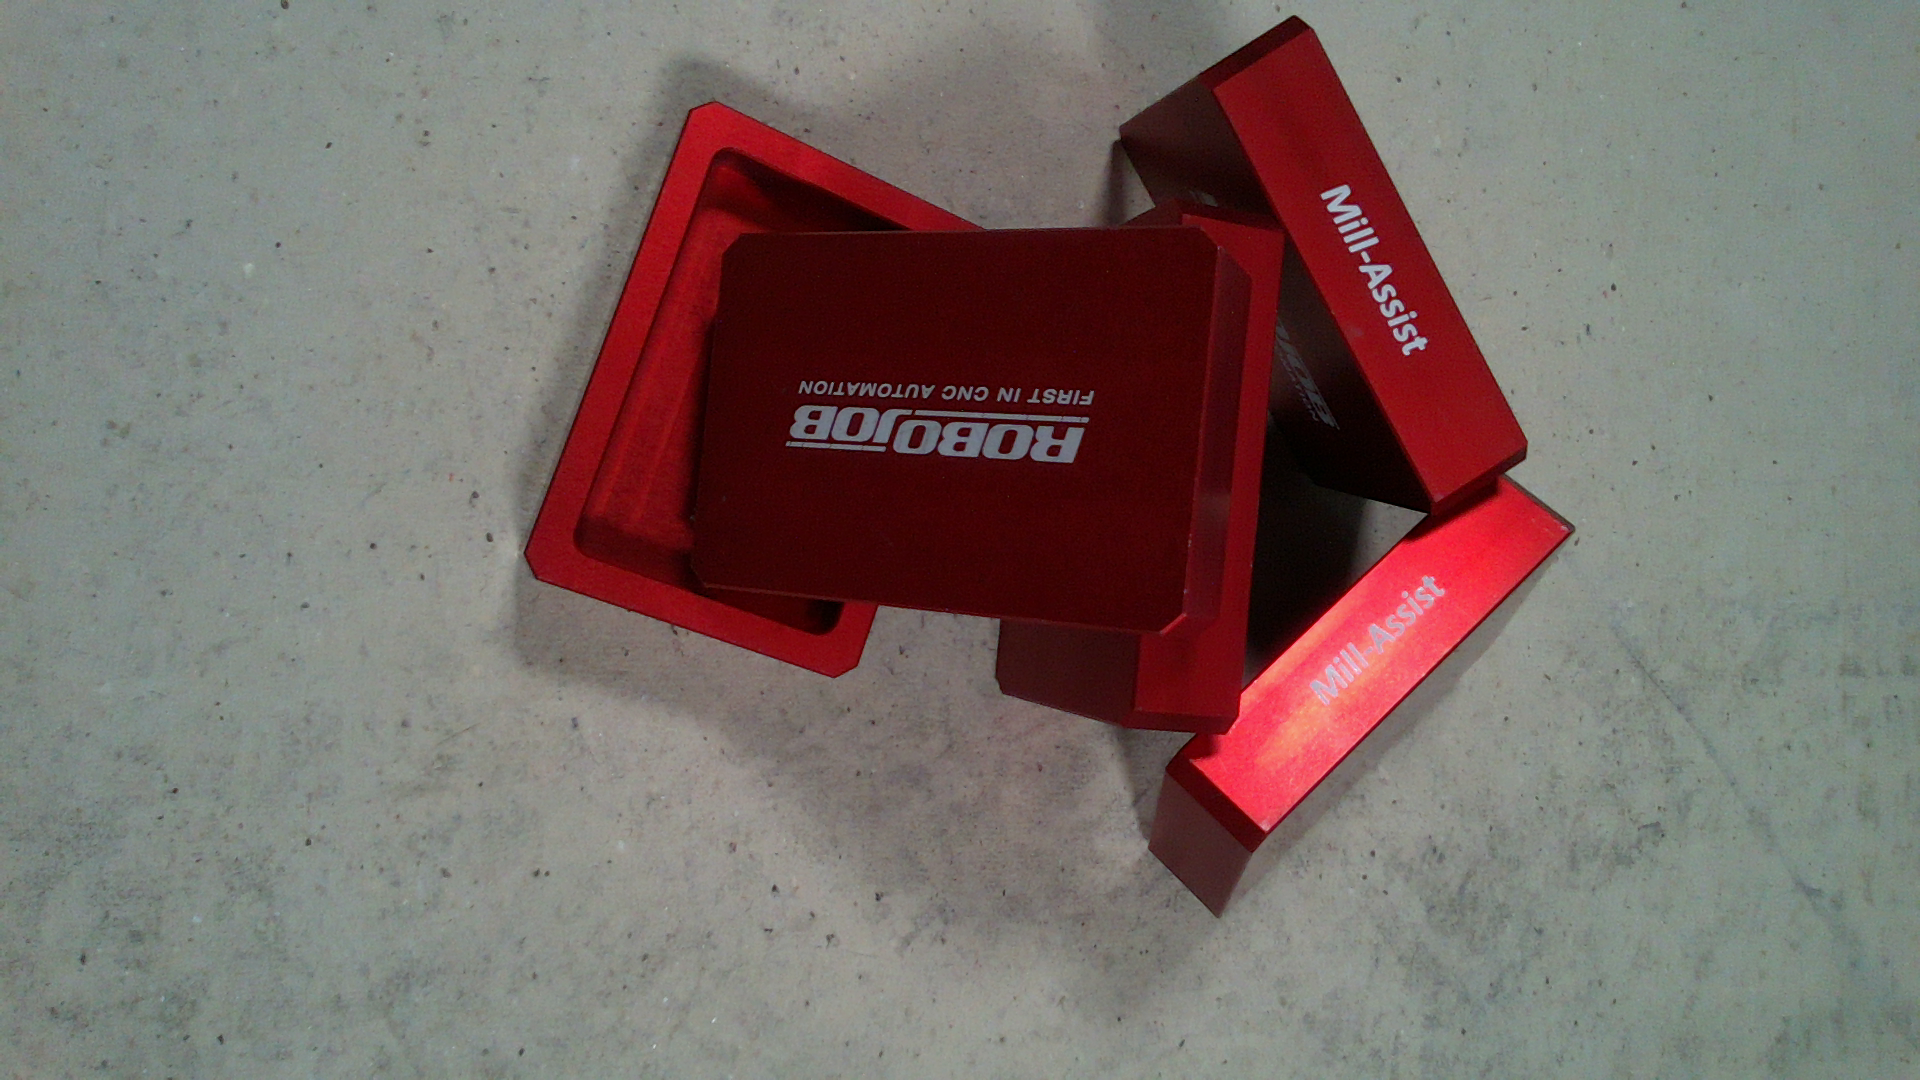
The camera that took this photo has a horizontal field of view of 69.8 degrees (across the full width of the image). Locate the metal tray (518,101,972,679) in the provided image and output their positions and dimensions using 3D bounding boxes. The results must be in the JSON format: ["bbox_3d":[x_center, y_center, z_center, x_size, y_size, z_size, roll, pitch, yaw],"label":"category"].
[{"bbox_3d":[-0.053,-0.038,0.372,0.090,0.030,0.130,21,83,-19],"label":"metal tray"}]

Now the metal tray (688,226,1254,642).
[{"bbox_3d":[0.000,-0.027,0.334,0.130,0.030,0.090,5,88,25],"label":"metal tray"}]

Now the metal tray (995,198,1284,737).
[{"bbox_3d":[0.045,-0.018,0.376,0.030,0.090,0.130,7,88,-20],"label":"metal tray"}]

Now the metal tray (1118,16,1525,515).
[{"bbox_3d":[0.099,-0.074,0.393,0.030,0.090,0.130,-32,101,-2],"label":"metal tray"}]

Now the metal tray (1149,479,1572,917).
[{"bbox_3d":[0.113,0.046,0.400,0.130,0.090,0.030,-40,68,-15],"label":"metal tray"}]
